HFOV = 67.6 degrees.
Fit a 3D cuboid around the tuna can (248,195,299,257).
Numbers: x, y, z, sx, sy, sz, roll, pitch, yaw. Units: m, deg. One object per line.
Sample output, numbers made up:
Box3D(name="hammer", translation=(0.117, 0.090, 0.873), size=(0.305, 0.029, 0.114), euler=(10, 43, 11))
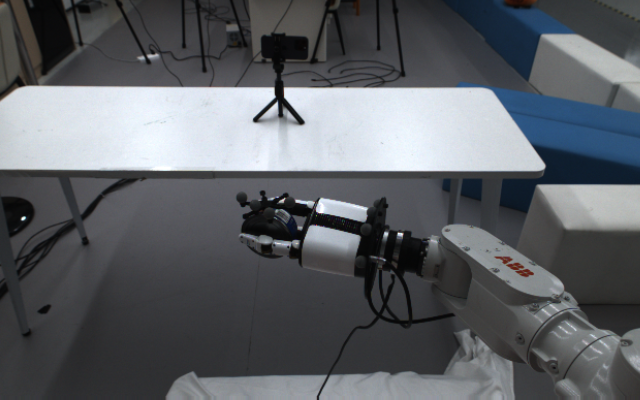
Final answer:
Box3D(name="tuna can", translation=(-0.079, 0.049, 0.771), size=(0.085, 0.085, 0.034), euler=(11, 33, 13))
